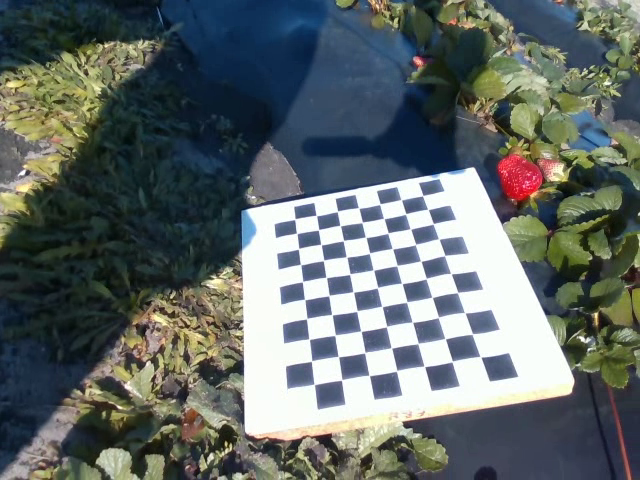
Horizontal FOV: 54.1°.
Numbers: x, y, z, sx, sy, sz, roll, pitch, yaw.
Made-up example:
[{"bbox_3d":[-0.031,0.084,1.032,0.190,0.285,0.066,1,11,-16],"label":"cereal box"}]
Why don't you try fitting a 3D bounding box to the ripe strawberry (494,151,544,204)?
[{"bbox_3d":[0.216,-0.070,0.686,0.058,0.062,0.066,-3,39,52],"label":"ripe strawberry"}]
